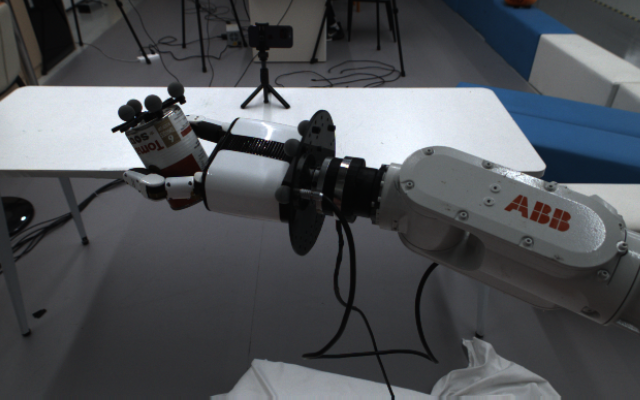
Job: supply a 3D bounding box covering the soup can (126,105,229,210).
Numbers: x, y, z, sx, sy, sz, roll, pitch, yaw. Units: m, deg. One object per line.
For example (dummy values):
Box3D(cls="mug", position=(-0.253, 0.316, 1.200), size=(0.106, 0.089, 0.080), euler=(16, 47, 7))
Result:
Box3D(cls="soup can", position=(-0.163, -0.048, 0.554), size=(0.067, 0.101, 0.067), euler=(-22, 24, 10))
